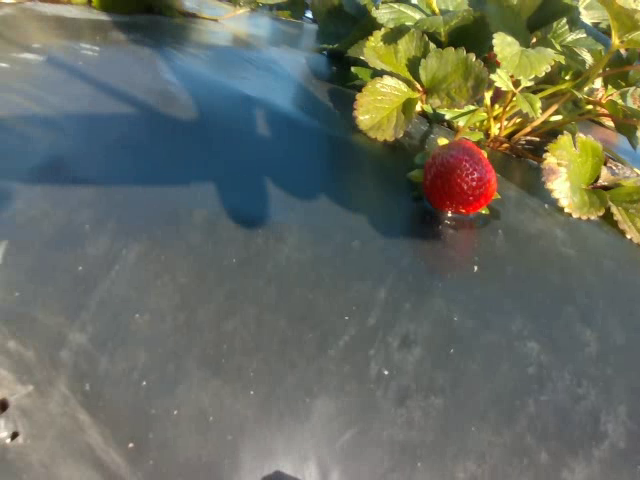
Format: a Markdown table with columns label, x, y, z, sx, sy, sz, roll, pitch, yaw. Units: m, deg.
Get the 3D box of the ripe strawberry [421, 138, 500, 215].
| label | x | y | z | sx | sy | sz | roll | pitch | yaw |
| --- | --- | --- | --- | --- | --- | --- | --- | --- | --- |
| ripe strawberry | 0.044 | -0.021 | 0.197 | 0.028 | 0.031 | 0.041 | -1 | -7 | 11 |
